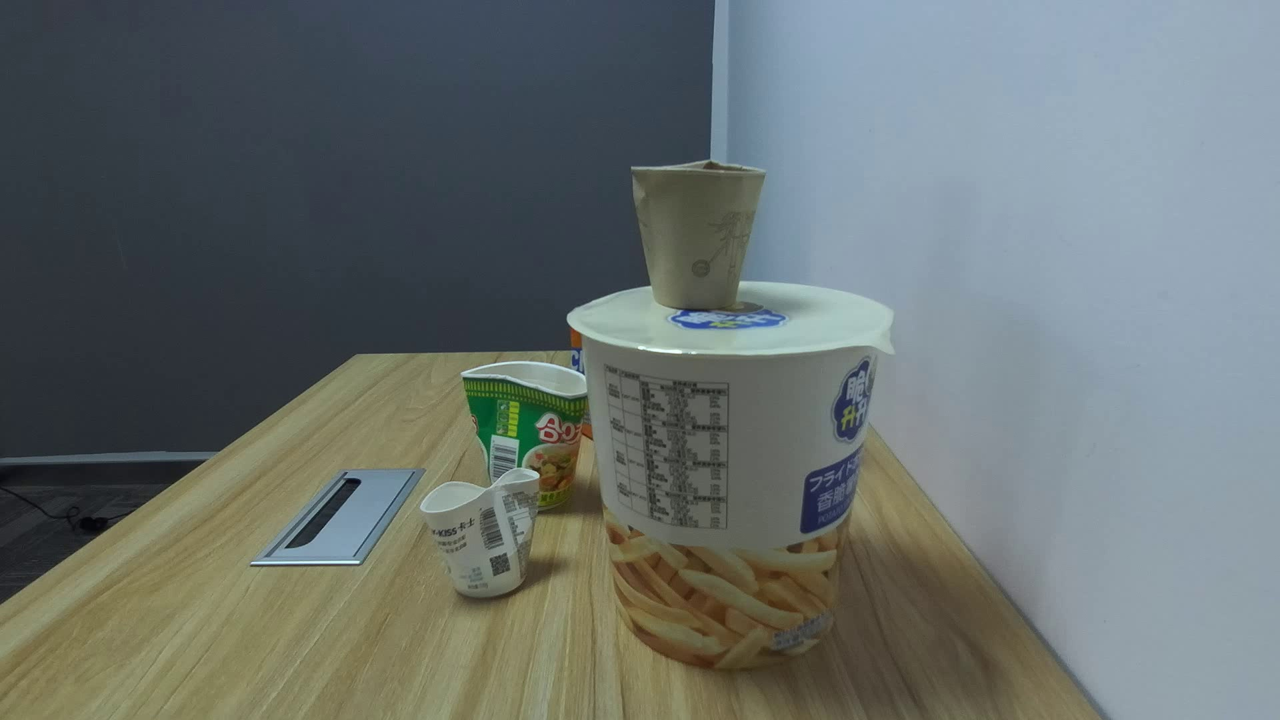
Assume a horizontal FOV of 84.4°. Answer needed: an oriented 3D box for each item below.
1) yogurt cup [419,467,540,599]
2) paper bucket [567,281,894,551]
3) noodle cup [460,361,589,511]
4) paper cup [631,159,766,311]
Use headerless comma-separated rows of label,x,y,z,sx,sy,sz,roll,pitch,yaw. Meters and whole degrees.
yogurt cup,-0.106,0.118,0.485,0.053,0.071,0.075,9,20,24
paper bucket,0.054,0.062,0.444,0.198,0.194,0.198,-1,17,1
noodle cup,-0.092,0.063,0.595,0.070,0.111,0.114,-17,24,-35
paper cup,0.034,-0.077,0.437,0.066,0.084,0.071,-11,23,-27
